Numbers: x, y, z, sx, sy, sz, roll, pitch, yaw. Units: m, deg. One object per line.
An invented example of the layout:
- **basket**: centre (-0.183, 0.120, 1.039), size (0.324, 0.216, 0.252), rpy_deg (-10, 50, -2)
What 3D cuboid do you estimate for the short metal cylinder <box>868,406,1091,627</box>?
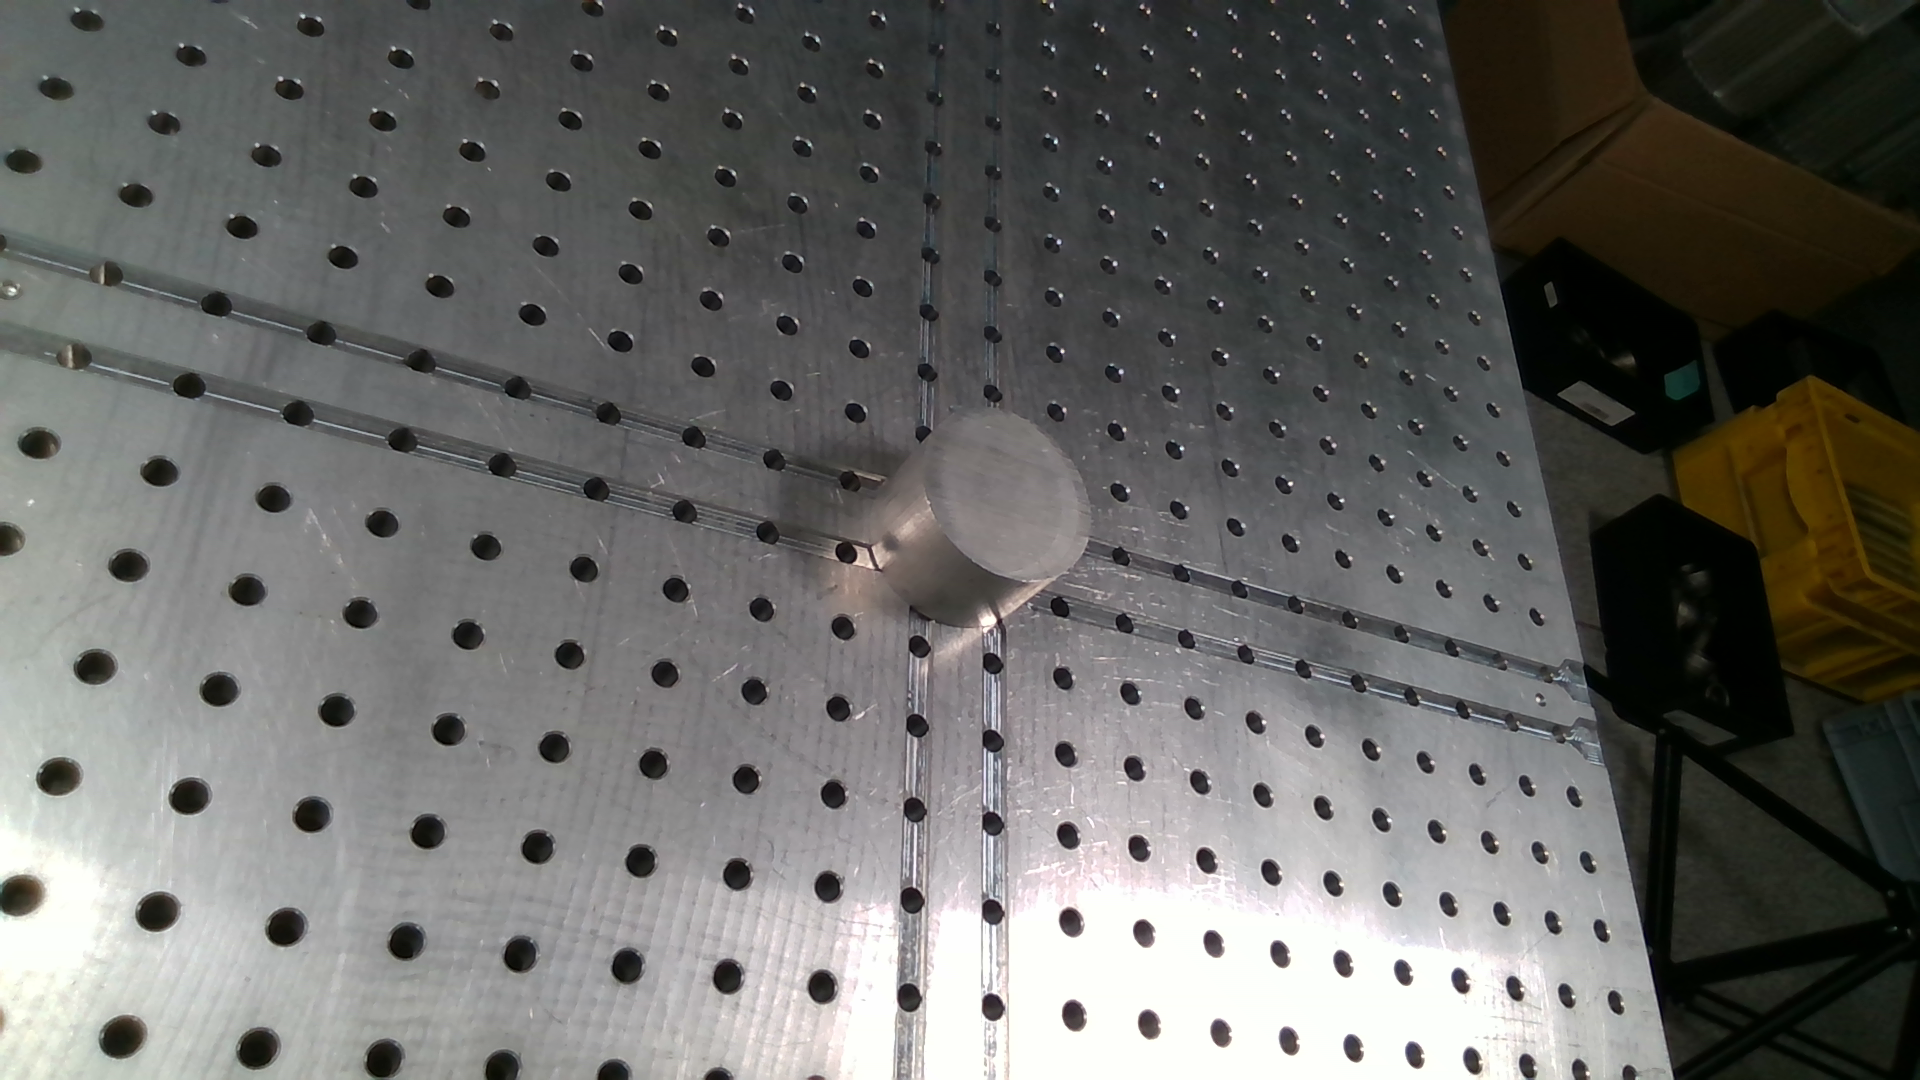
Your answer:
- **short metal cylinder**: centre (0.008, -0.010, 0.582), size (0.080, 0.050, 0.080), rpy_deg (14, 59, -25)
